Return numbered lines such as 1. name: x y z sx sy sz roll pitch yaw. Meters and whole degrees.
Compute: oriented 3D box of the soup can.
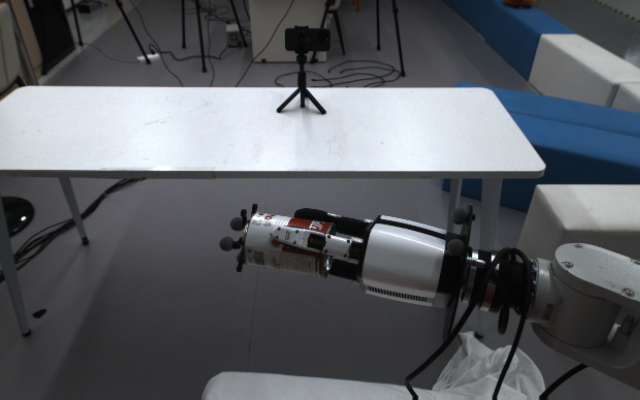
1. soup can: -0.034 0.054 0.593 0.101 0.067 0.067 7 35 10
